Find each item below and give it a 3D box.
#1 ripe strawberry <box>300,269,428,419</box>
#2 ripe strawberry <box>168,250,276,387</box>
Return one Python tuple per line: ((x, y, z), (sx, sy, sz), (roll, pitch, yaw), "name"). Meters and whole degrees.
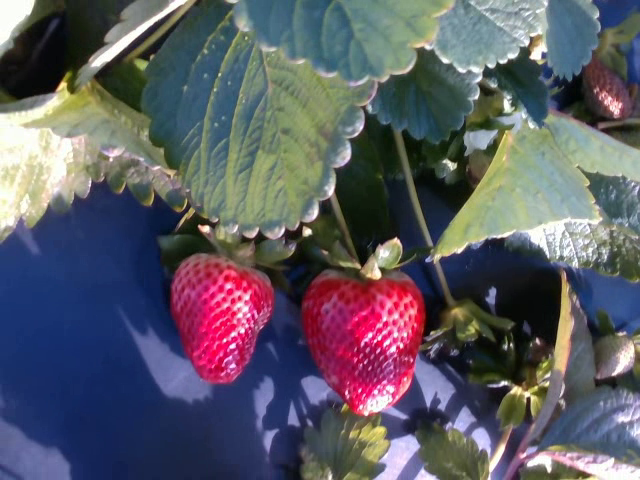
((0.018, 0.039, 0.216), (0.052, 0.058, 0.046), (-4, -13, 13), "ripe strawberry")
((-0.036, 0.029, 0.205), (0.043, 0.052, 0.036), (-11, -13, 18), "ripe strawberry")
